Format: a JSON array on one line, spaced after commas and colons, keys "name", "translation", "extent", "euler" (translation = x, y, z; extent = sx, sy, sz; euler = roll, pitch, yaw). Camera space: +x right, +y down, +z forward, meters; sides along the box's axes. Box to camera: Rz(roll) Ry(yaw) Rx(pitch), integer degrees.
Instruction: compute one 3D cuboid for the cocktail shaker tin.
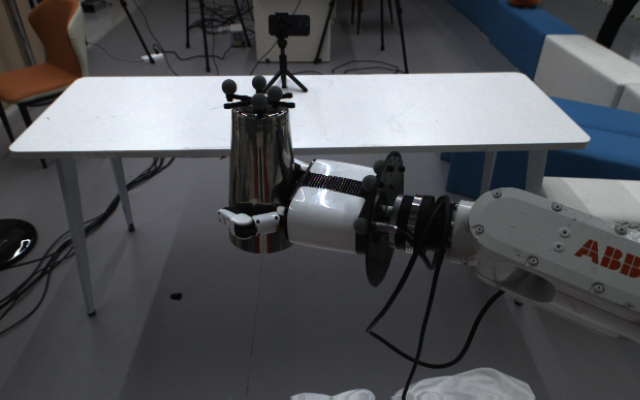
[{"name": "cocktail shaker tin", "translation": [-0.069, -0.031, 0.594], "extent": [0.093, 0.170, 0.093], "euler": [1, 28, -1]}]
